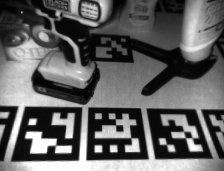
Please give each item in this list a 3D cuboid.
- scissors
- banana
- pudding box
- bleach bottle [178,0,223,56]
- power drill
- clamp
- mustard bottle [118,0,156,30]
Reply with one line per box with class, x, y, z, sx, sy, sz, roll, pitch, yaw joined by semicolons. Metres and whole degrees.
scissors;-0.173;-0.150;0.405;0.202;0.016;0.088;24;56;5
banana;-0.041;-0.206;0.576;0.199;0.039;0.073;-32;45;-28
pudding box;-0.169;-0.104;0.451;0.114;0.090;0.038;5;44;-4
bleach bottle;0.188;-0.148;0.418;0.103;0.252;0.067;-18;51;-11
power drill;-0.102;-0.085;0.347;0.184;0.188;0.057;10;44;4
clamp;0.144;-0.072;0.486;0.204;0.037;0.164;-2;54;-12
mustard bottle;0.072;-0.232;0.529;0.096;0.192;0.058;13;51;2
